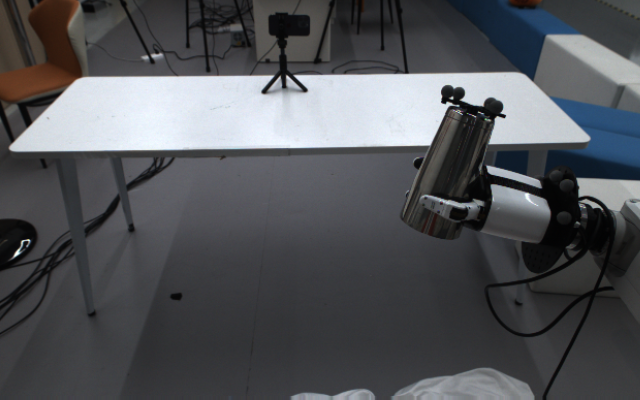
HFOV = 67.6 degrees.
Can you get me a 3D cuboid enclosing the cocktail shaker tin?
[{"bbox_3d":[0.184,-0.041,0.686,0.093,0.170,0.093,14,20,-5],"label":"cocktail shaker tin"}]
